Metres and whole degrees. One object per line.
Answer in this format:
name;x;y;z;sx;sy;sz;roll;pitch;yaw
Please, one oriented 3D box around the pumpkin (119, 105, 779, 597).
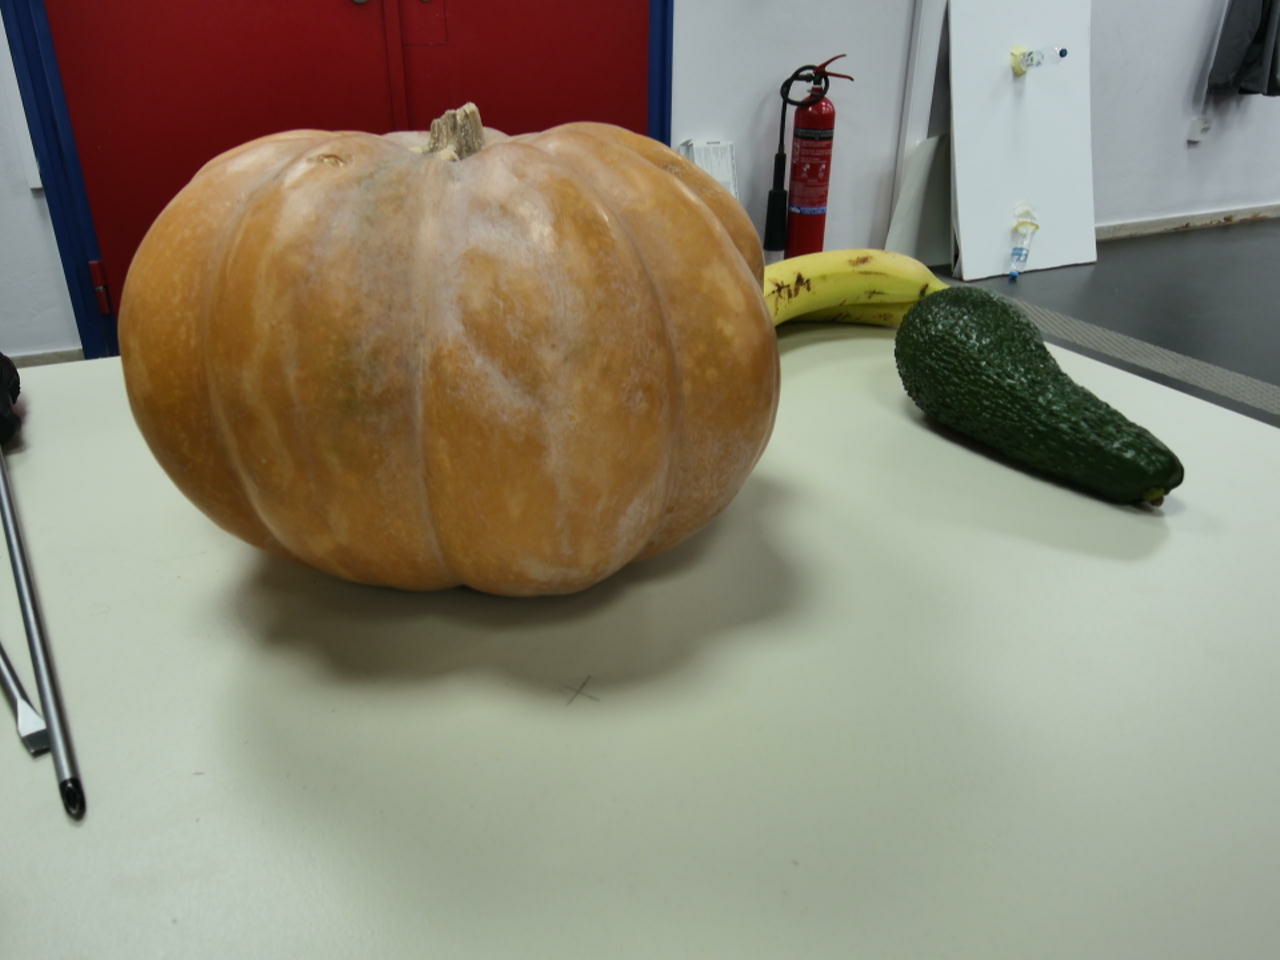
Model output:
pumpkin;-0.070;-0.060;0.419;0.277;0.181;0.277;0;25;0
